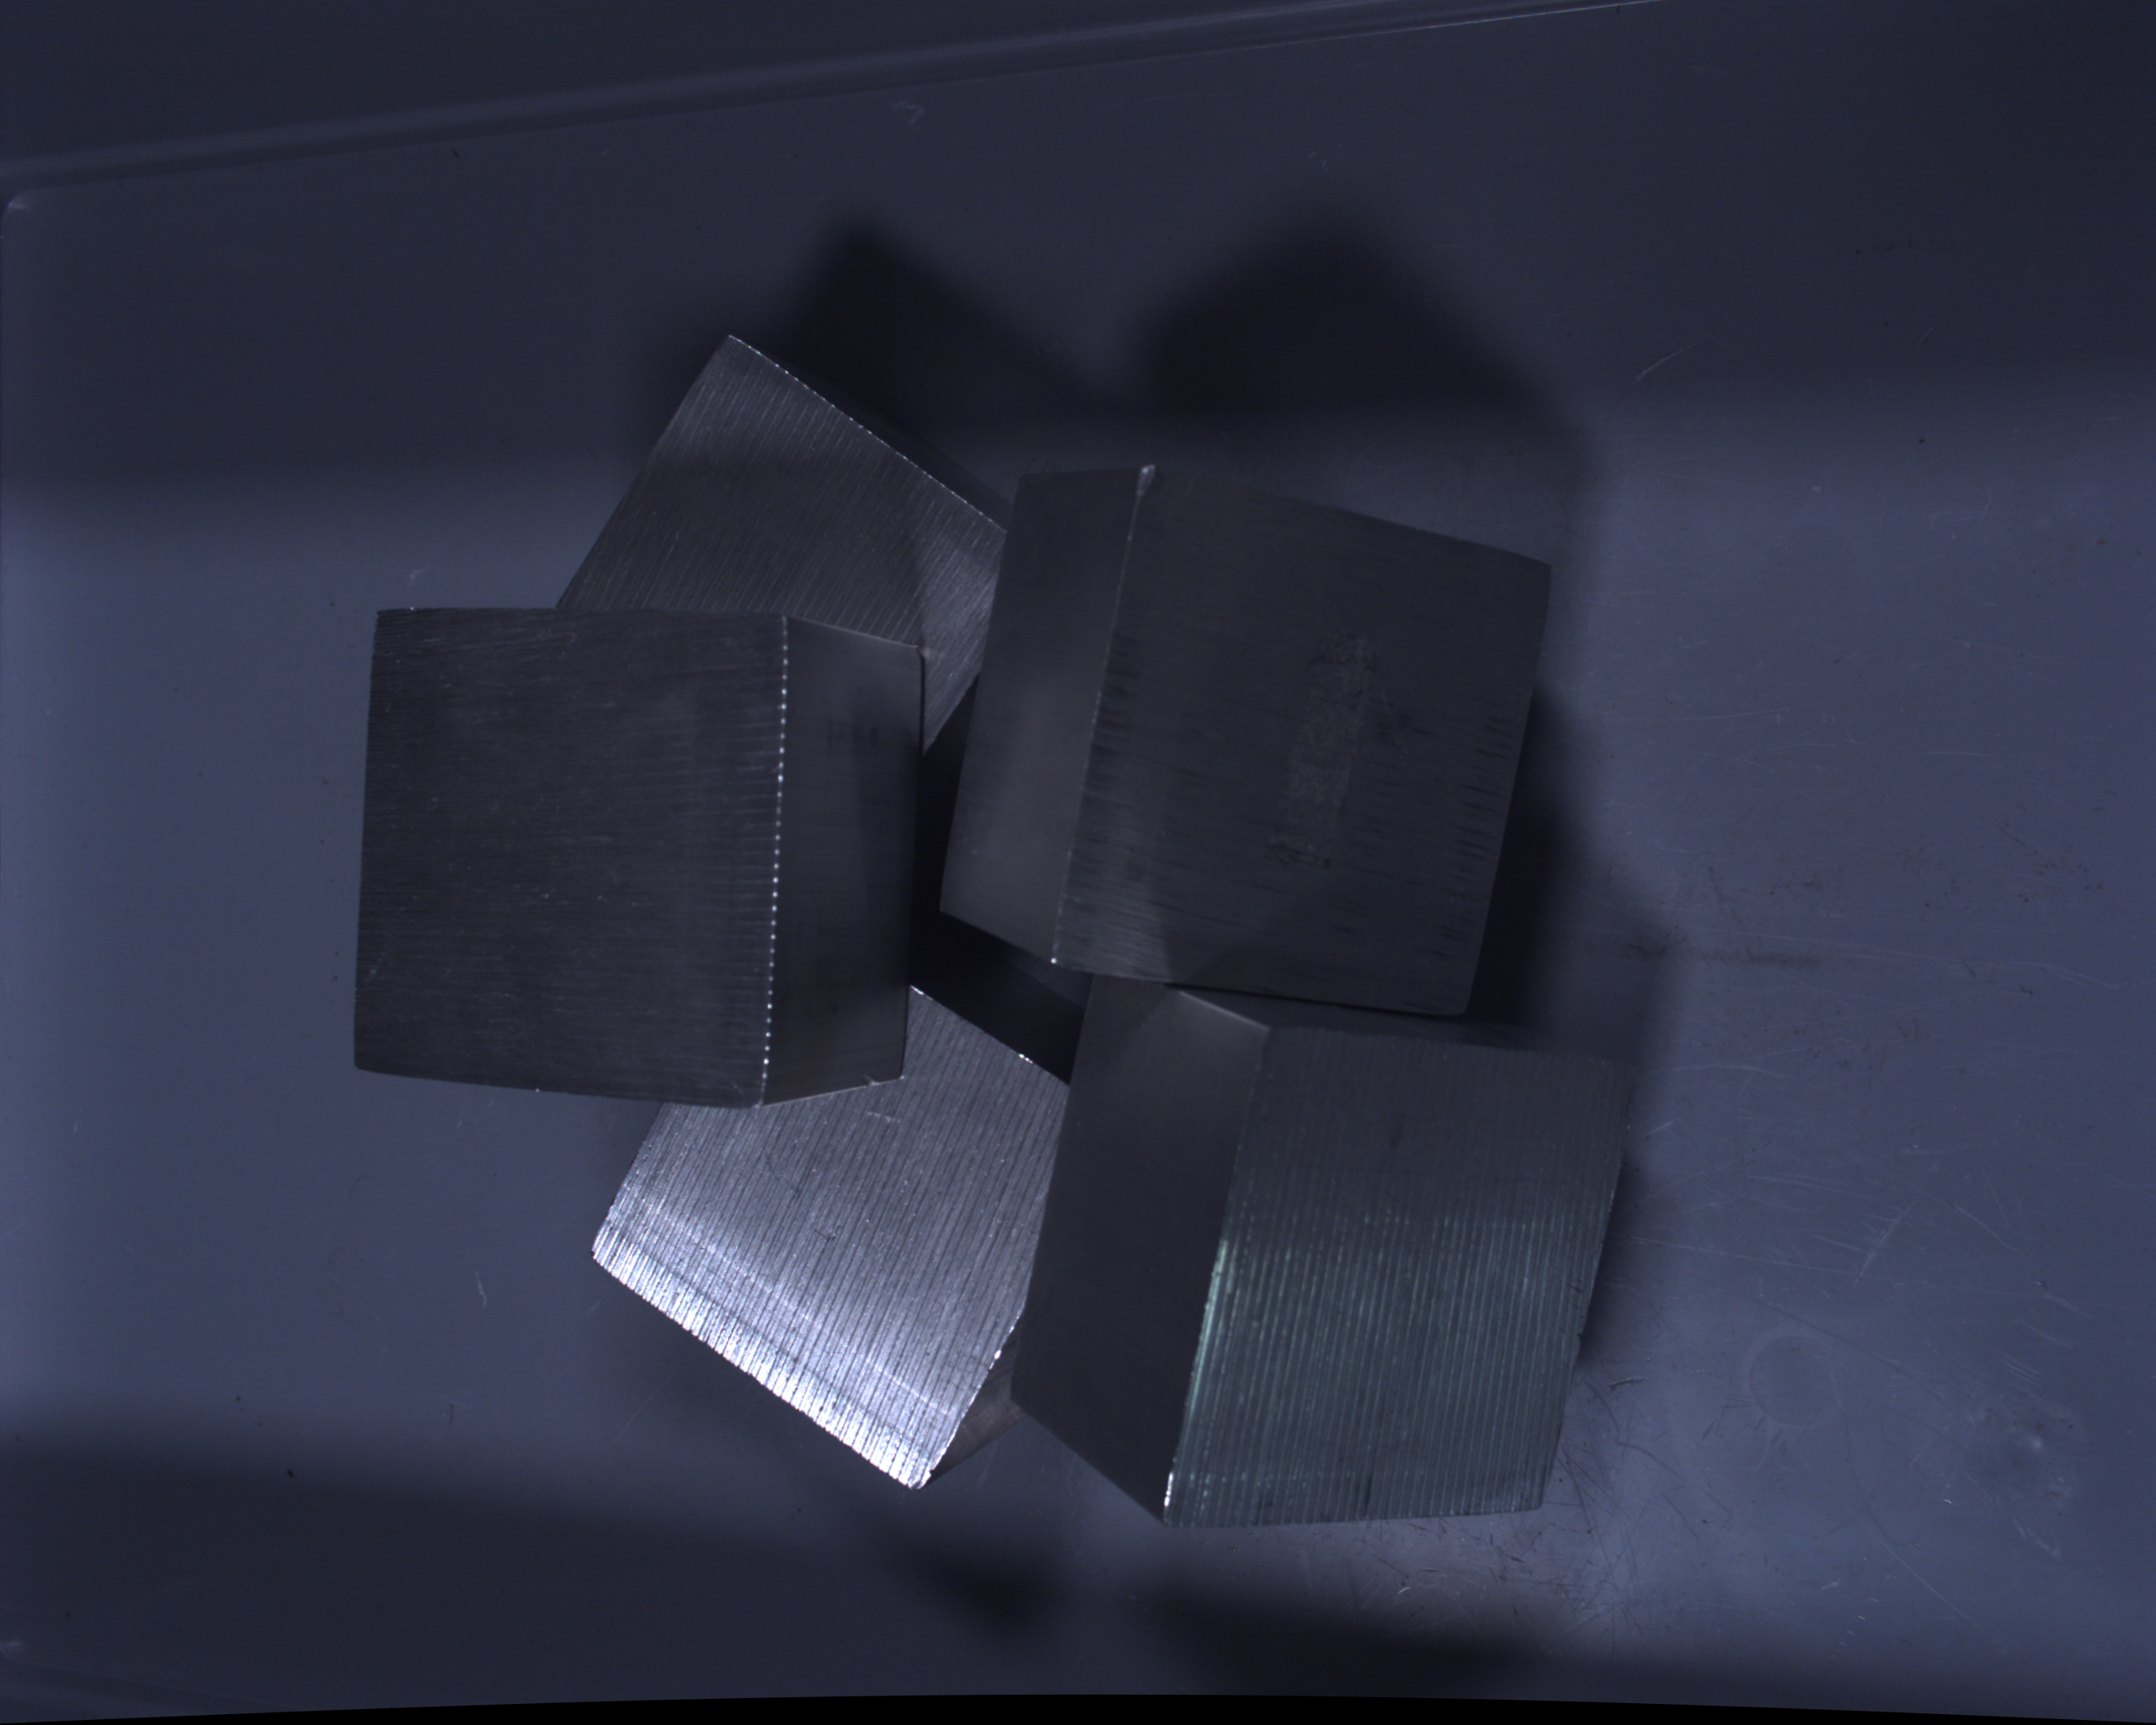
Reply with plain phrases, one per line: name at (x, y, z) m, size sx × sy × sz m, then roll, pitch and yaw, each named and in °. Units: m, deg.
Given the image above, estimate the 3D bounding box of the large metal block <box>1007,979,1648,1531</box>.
large metal block at (0.042, 0.064, 0.357) m, size 0.050 × 0.081 × 0.079 m, roll 18°, pitch 97°, yaw 58°

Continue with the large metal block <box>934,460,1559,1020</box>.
large metal block at (0.028, -0.021, 0.362) m, size 0.081 × 0.050 × 0.079 m, roll 9°, pitch 94°, yaw -26°

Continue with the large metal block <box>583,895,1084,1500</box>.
large metal block at (-0.034, 0.060, 0.404) m, size 0.080 × 0.050 × 0.080 m, roll 31°, pitch 100°, yaw 17°

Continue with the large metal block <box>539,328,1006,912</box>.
large metal block at (-0.049, -0.045, 0.412) m, size 0.080 × 0.050 × 0.080 m, roll 38°, pitch 102°, yaw 15°

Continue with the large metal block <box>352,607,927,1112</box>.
large metal block at (-0.076, -0.002, 0.367) m, size 0.080 × 0.050 × 0.079 m, roll 3°, pitch 90°, yaw 20°
